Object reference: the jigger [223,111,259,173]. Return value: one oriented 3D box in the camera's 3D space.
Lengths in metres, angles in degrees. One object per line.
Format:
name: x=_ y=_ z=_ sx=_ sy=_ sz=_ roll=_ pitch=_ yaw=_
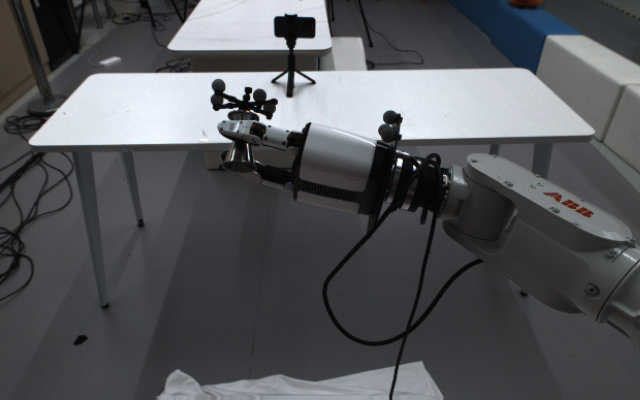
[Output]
jigger: x=-0.103 y=-0.075 z=0.608 sx=0.043 sy=0.043 sz=0.071 roll=2 pitch=76 yaw=0
